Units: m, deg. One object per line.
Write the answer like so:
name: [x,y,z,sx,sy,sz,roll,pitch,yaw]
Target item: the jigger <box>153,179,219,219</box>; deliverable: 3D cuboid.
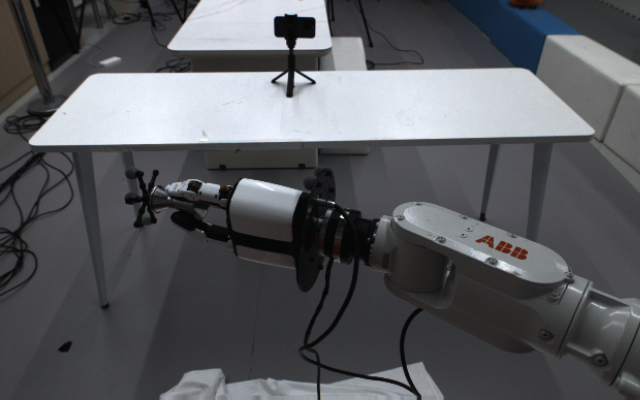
jigger: [-0.187,-0.001,0.670,0.071,0.043,0.043,6,35,13]
